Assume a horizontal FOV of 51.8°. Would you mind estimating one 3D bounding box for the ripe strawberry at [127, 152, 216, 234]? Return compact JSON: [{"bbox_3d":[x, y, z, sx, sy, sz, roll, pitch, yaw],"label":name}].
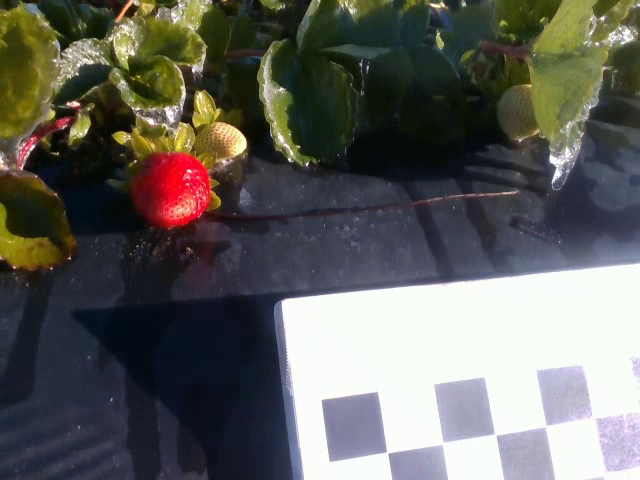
[{"bbox_3d":[-0.050,-0.014,0.227,0.039,0.040,0.039,-16,17,-6],"label":"ripe strawberry"}]
